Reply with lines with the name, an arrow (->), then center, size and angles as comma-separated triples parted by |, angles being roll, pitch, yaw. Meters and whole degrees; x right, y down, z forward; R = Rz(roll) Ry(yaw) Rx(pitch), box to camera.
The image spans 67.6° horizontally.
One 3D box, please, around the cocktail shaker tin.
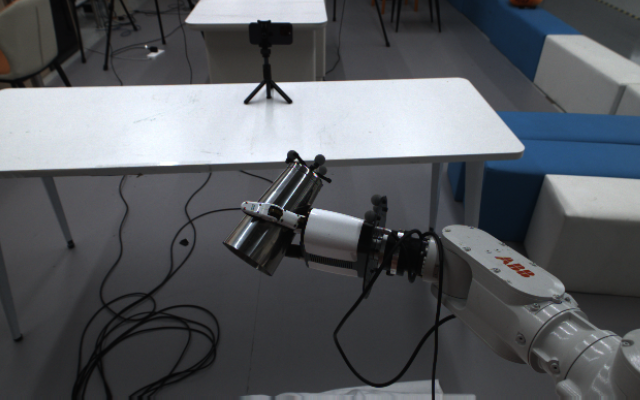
cocktail shaker tin -> -0.069, 0.021, 0.773 | 0.093, 0.093, 0.170 | 24, 70, 28
